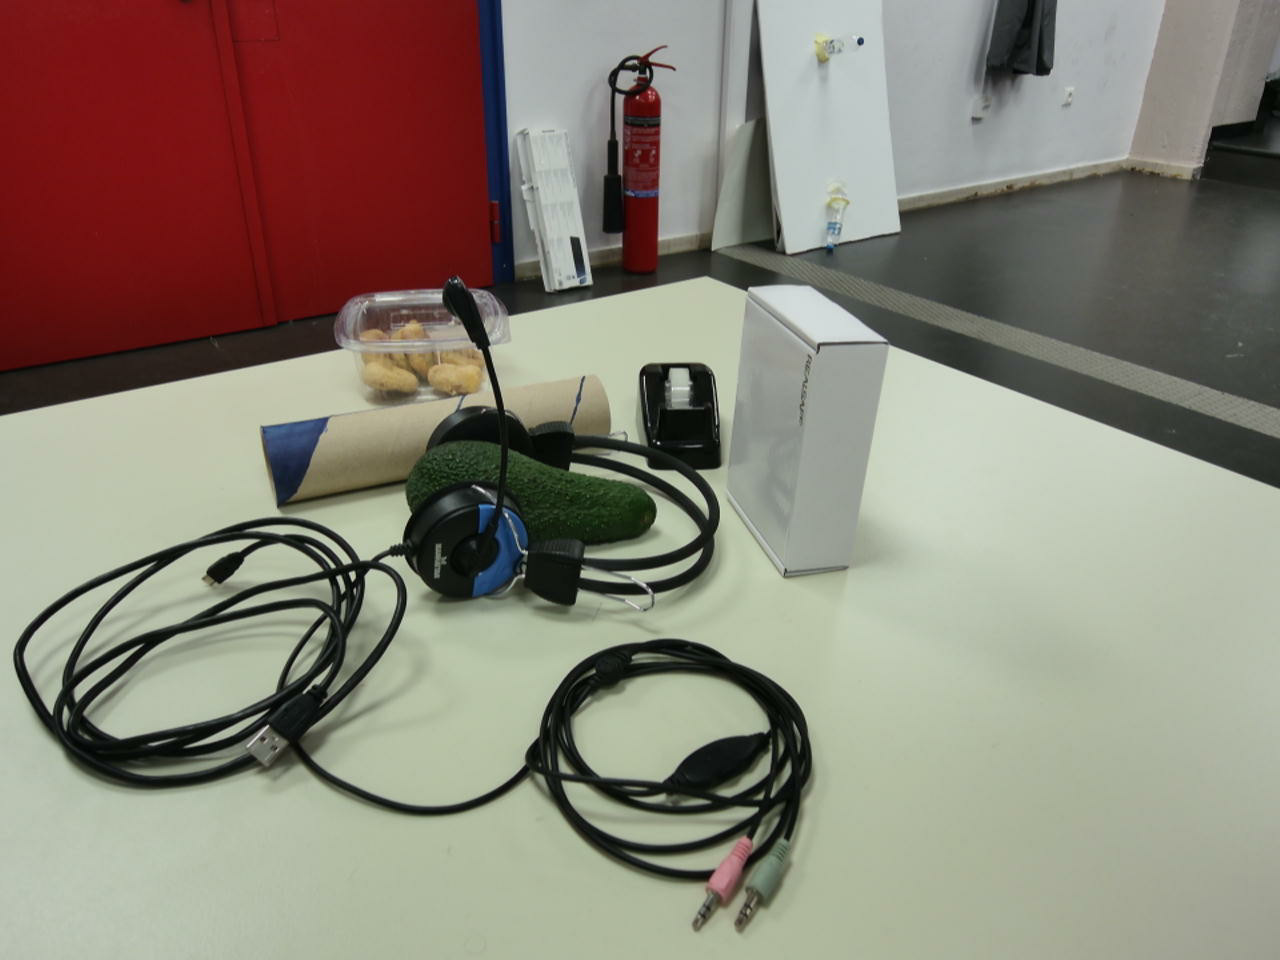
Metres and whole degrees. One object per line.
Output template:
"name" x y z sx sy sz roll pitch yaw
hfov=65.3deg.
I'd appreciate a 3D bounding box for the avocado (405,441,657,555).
"avocado" -0.061 0.005 0.568 0.141 0.067 0.063 -9 28 -20
